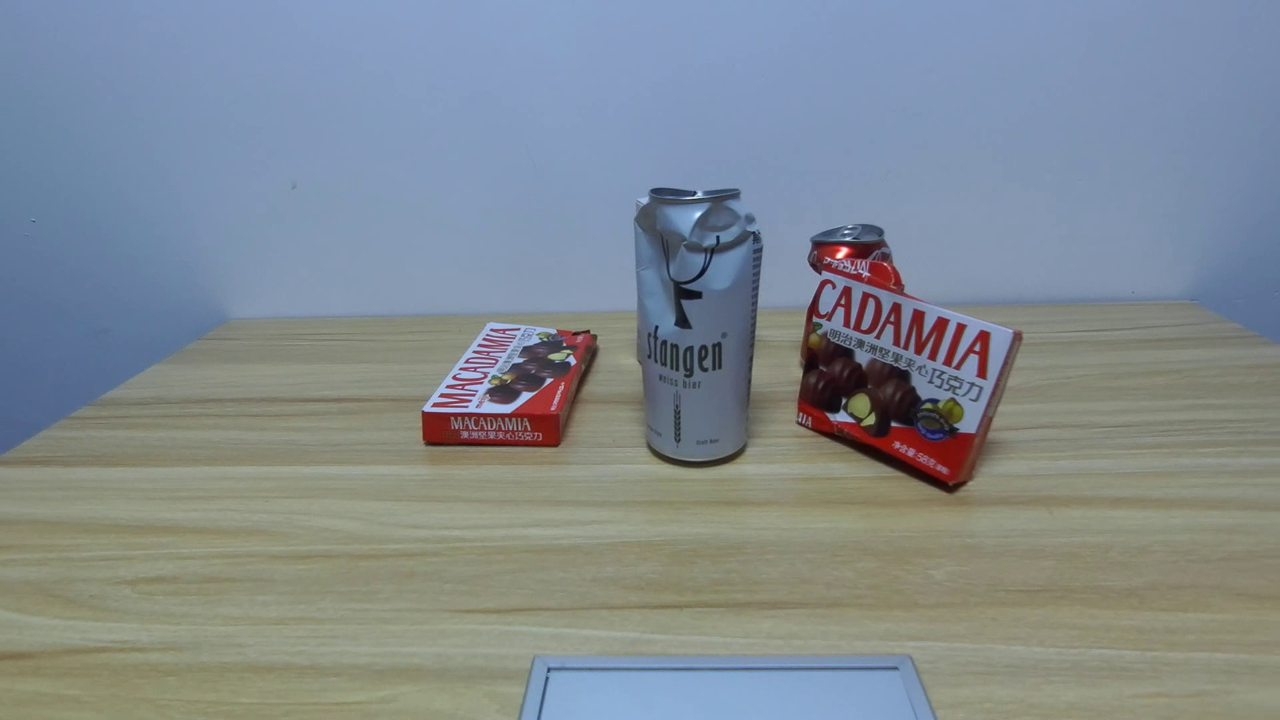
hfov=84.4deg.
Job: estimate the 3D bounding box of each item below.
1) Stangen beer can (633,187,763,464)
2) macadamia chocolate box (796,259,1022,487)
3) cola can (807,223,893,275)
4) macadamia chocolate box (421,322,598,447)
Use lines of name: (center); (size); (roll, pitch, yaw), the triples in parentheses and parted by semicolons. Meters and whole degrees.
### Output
Stangen beer can: (0.035, -0.020, 0.435); (0.066, 0.166, 0.065); (-12, 24, -25)
macadamia chocolate box: (0.162, 0.003, 0.439); (0.056, 0.112, 0.126); (-16, 27, -33)
cola can: (0.165, -0.049, 0.560); (0.069, 0.112, 0.065); (-12, 29, -17)
macadamia chocolate box: (-0.092, 0.011, 0.555); (0.103, 0.027, 0.186); (1, 24, 3)
